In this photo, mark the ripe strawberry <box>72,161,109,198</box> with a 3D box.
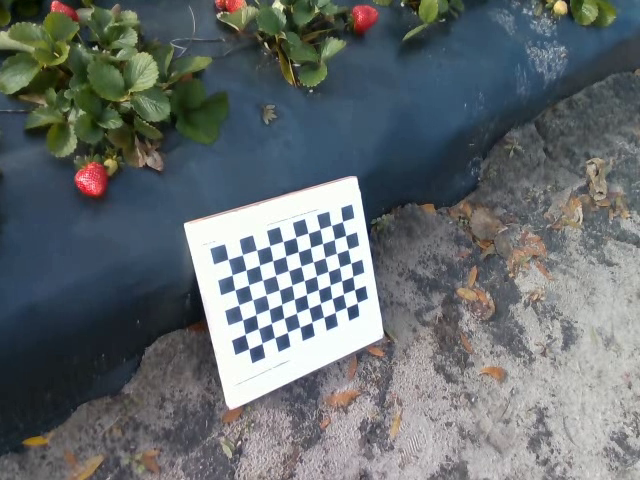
[{"bbox_3d":[-0.295,-0.076,0.743,0.045,0.058,0.051,-15,-36,-32],"label":"ripe strawberry"}]
